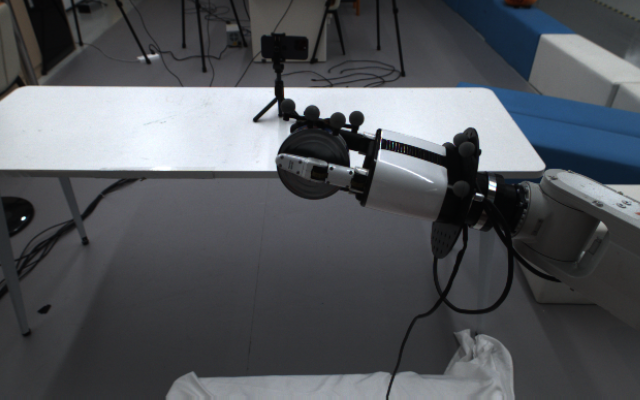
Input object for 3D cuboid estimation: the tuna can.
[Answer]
[{"bbox_3d":[-0.006,-0.048,0.574,0.085,0.085,0.034,5,18,4],"label":"tuna can"}]
